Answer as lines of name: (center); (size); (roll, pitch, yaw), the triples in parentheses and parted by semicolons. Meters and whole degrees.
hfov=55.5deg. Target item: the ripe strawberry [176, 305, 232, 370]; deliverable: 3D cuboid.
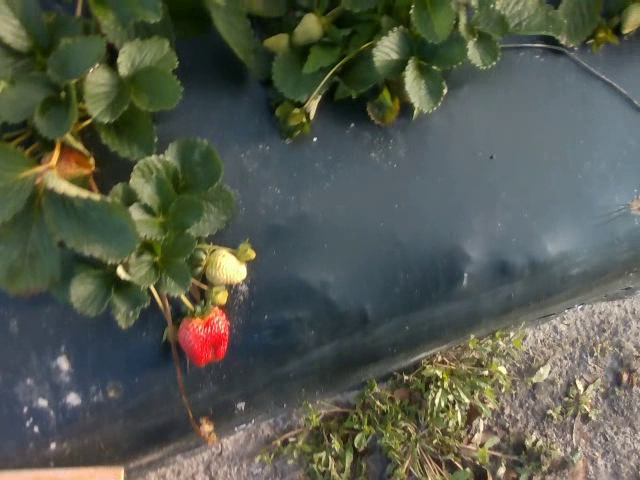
ripe strawberry: (-0.097, 0.089, 0.535); (0.047, 0.050, 0.034); (-15, 16, -12)
